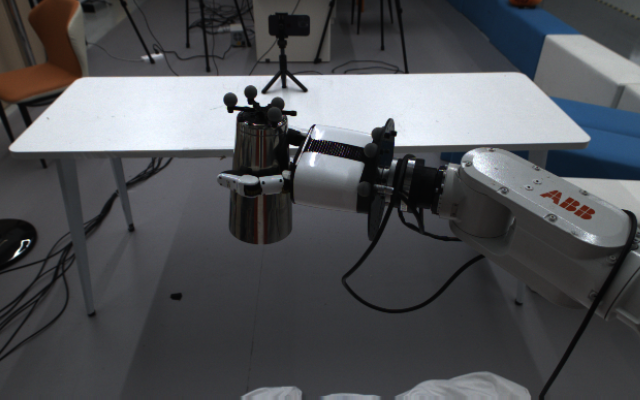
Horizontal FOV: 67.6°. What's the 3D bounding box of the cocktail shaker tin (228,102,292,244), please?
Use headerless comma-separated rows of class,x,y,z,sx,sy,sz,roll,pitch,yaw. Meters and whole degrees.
cocktail shaker tin,-0.080,-0.035,0.661,0.093,0.170,0.093,3,32,-2
